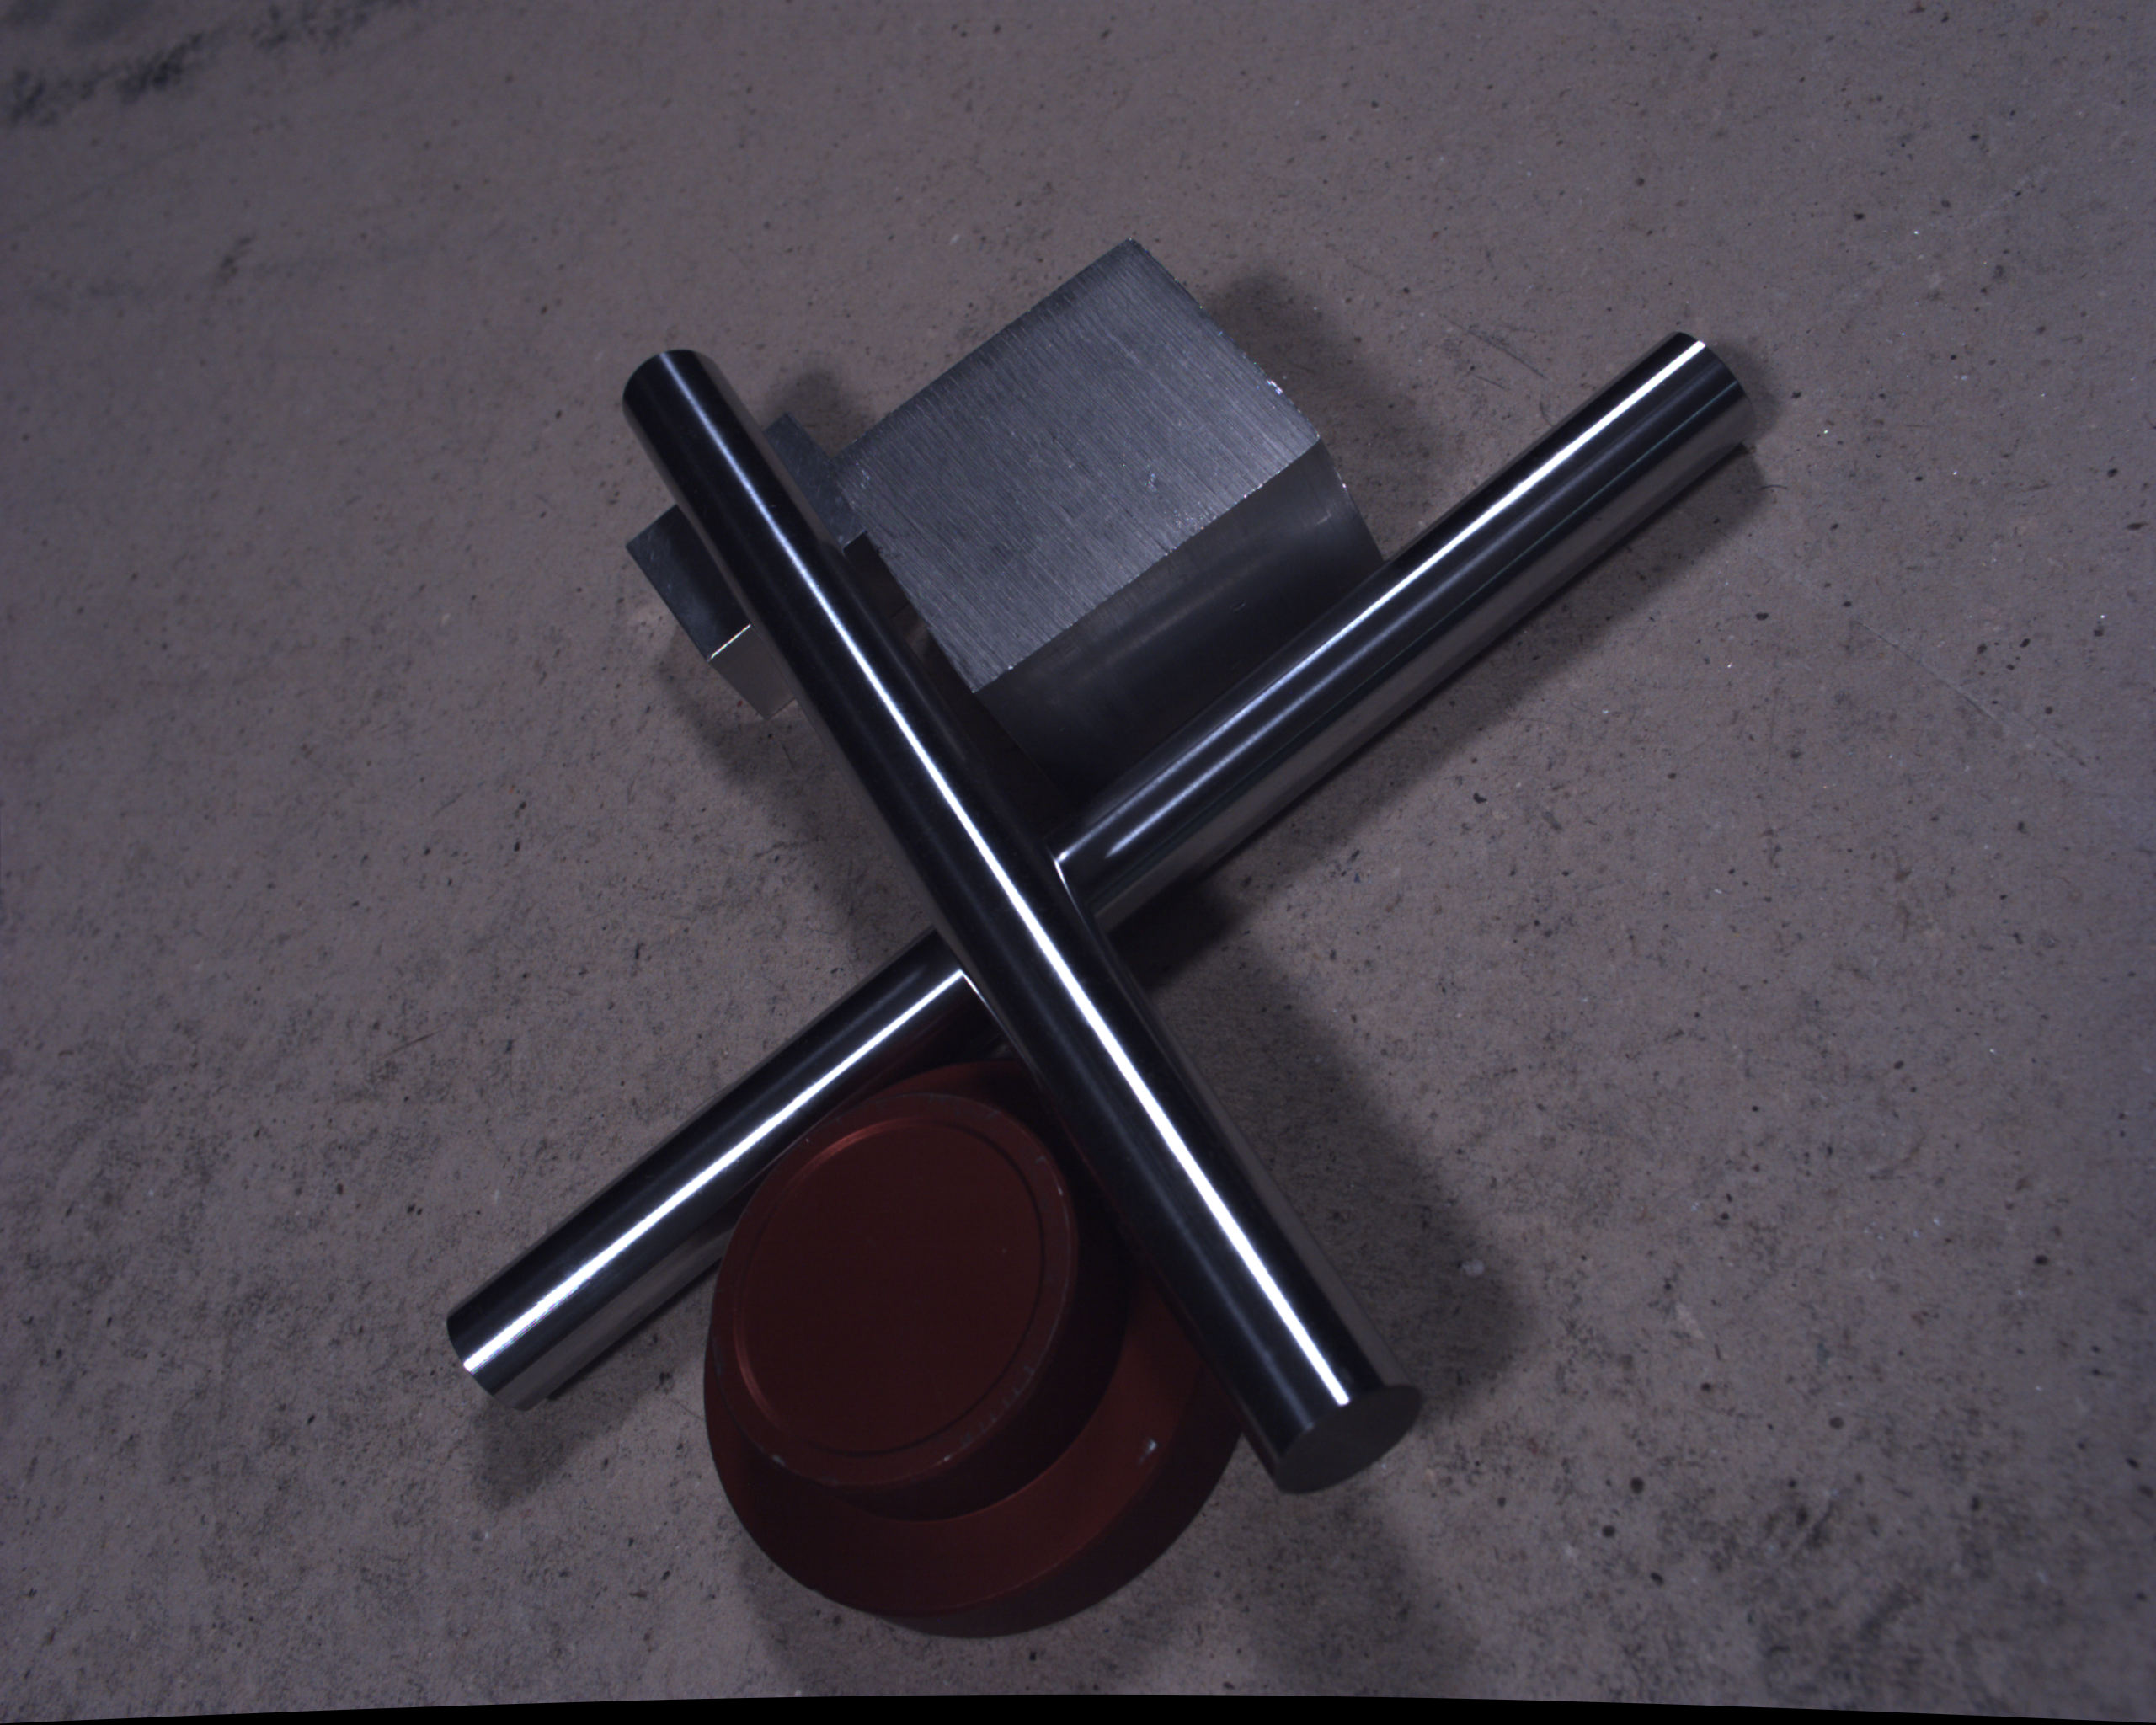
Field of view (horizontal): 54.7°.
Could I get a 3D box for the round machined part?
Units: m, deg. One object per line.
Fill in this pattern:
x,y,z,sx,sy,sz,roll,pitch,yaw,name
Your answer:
-0.023,0.078,0.357,0.098,0.042,0.098,-13,56,20,round machined part

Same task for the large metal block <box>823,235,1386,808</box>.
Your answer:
0.007,-0.068,0.428,0.080,0.050,0.080,-36,51,4,large metal block

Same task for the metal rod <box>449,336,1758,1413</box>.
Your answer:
0.004,0.003,0.402,0.300,0.025,0.025,-39,51,1,metal rod

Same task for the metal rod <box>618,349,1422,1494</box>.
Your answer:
-0.028,-0.013,0.394,0.025,0.025,0.300,-37,51,3,metal rod

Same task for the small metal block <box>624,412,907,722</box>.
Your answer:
-0.070,-0.069,0.484,0.050,0.025,0.050,-40,51,0,small metal block
